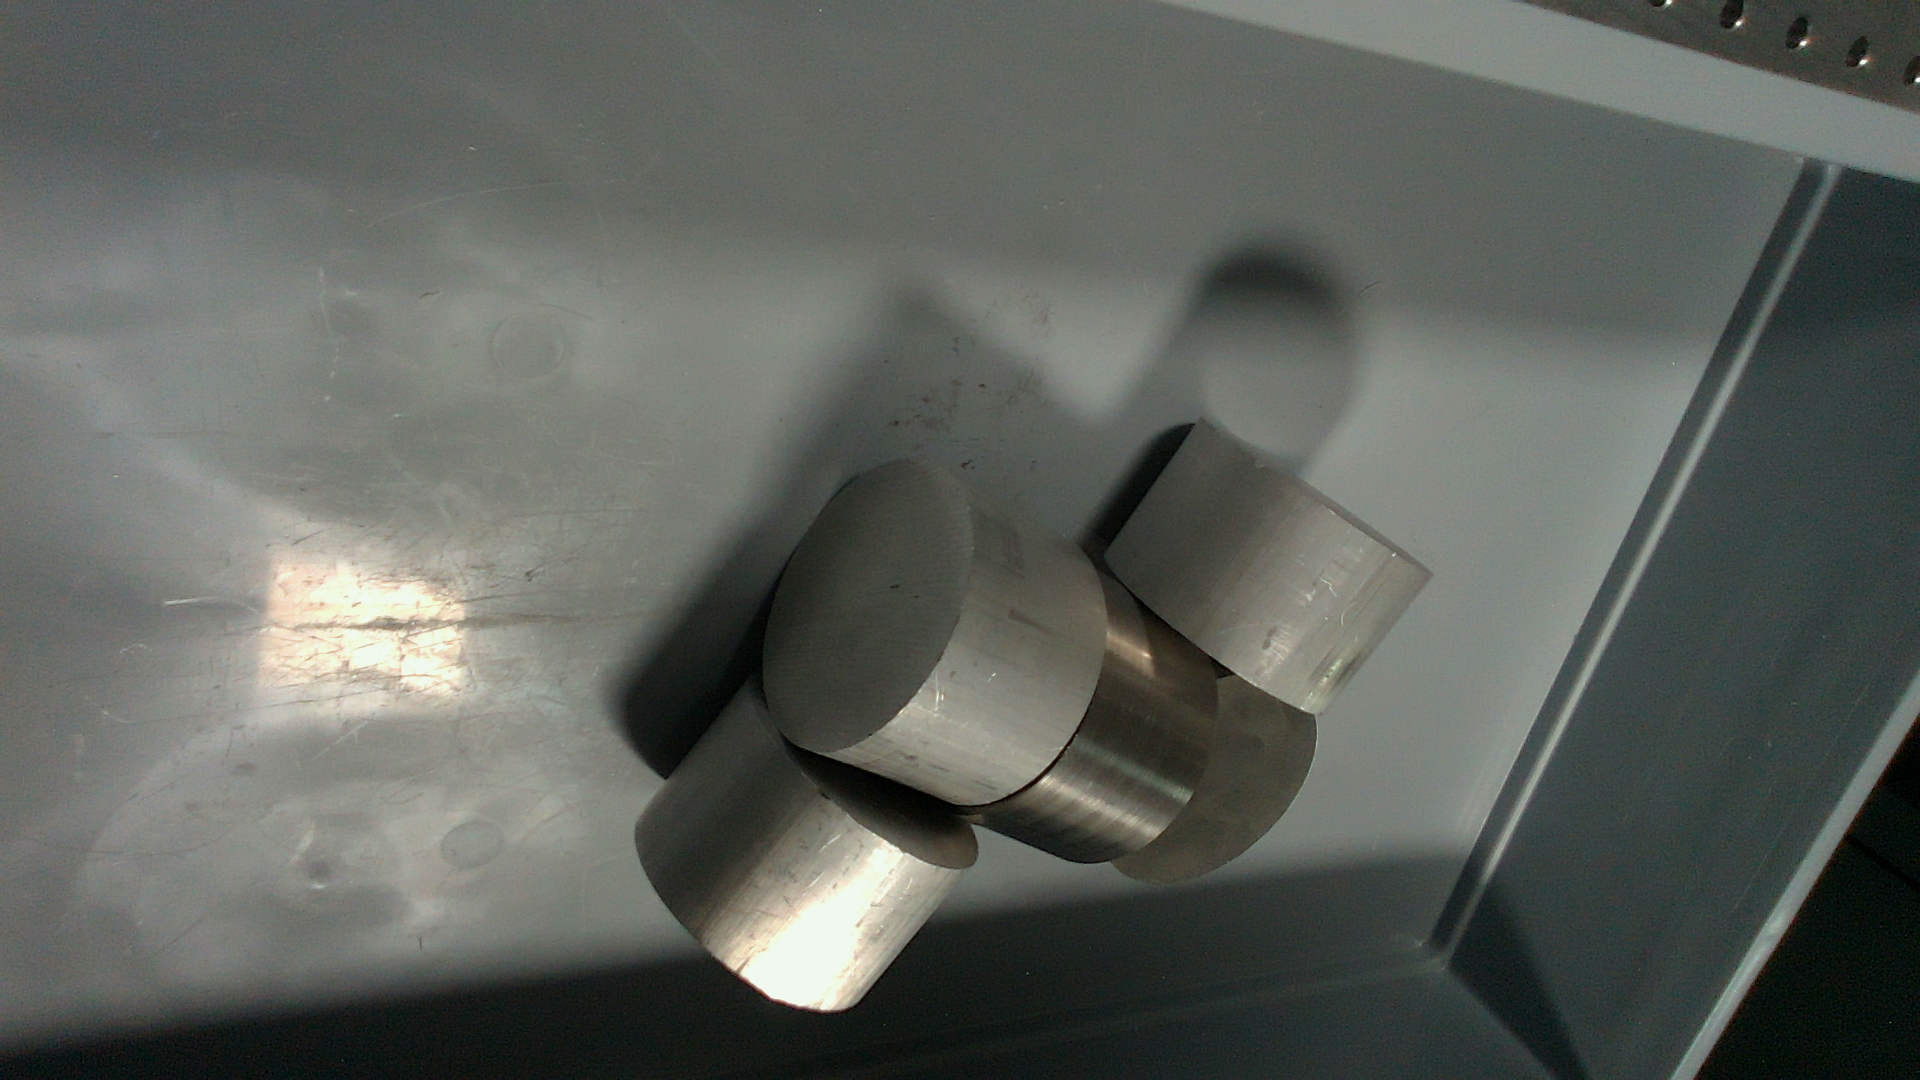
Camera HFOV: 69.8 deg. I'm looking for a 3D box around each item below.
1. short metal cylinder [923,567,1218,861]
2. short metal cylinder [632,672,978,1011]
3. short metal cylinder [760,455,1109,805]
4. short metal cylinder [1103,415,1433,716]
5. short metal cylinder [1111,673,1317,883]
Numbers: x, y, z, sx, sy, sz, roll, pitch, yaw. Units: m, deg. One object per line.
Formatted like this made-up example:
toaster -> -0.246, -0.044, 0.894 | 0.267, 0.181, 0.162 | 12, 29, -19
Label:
short metal cylinder -> 0.026, 0.047, 0.396 | 0.050, 0.080, 0.080 | 30, 102, -38
short metal cylinder -> -0.042, 0.081, 0.379 | 0.080, 0.080, 0.050 | 33, 100, -38
short metal cylinder -> -0.008, 0.024, 0.363 | 0.050, 0.080, 0.080 | 28, 103, -37
short metal cylinder -> 0.089, 0.007, 0.405 | 0.080, 0.080, 0.050 | 25, 105, -37
short metal cylinder -> 0.067, 0.063, 0.446 | 0.080, 0.050, 0.080 | -14, 124, -21
